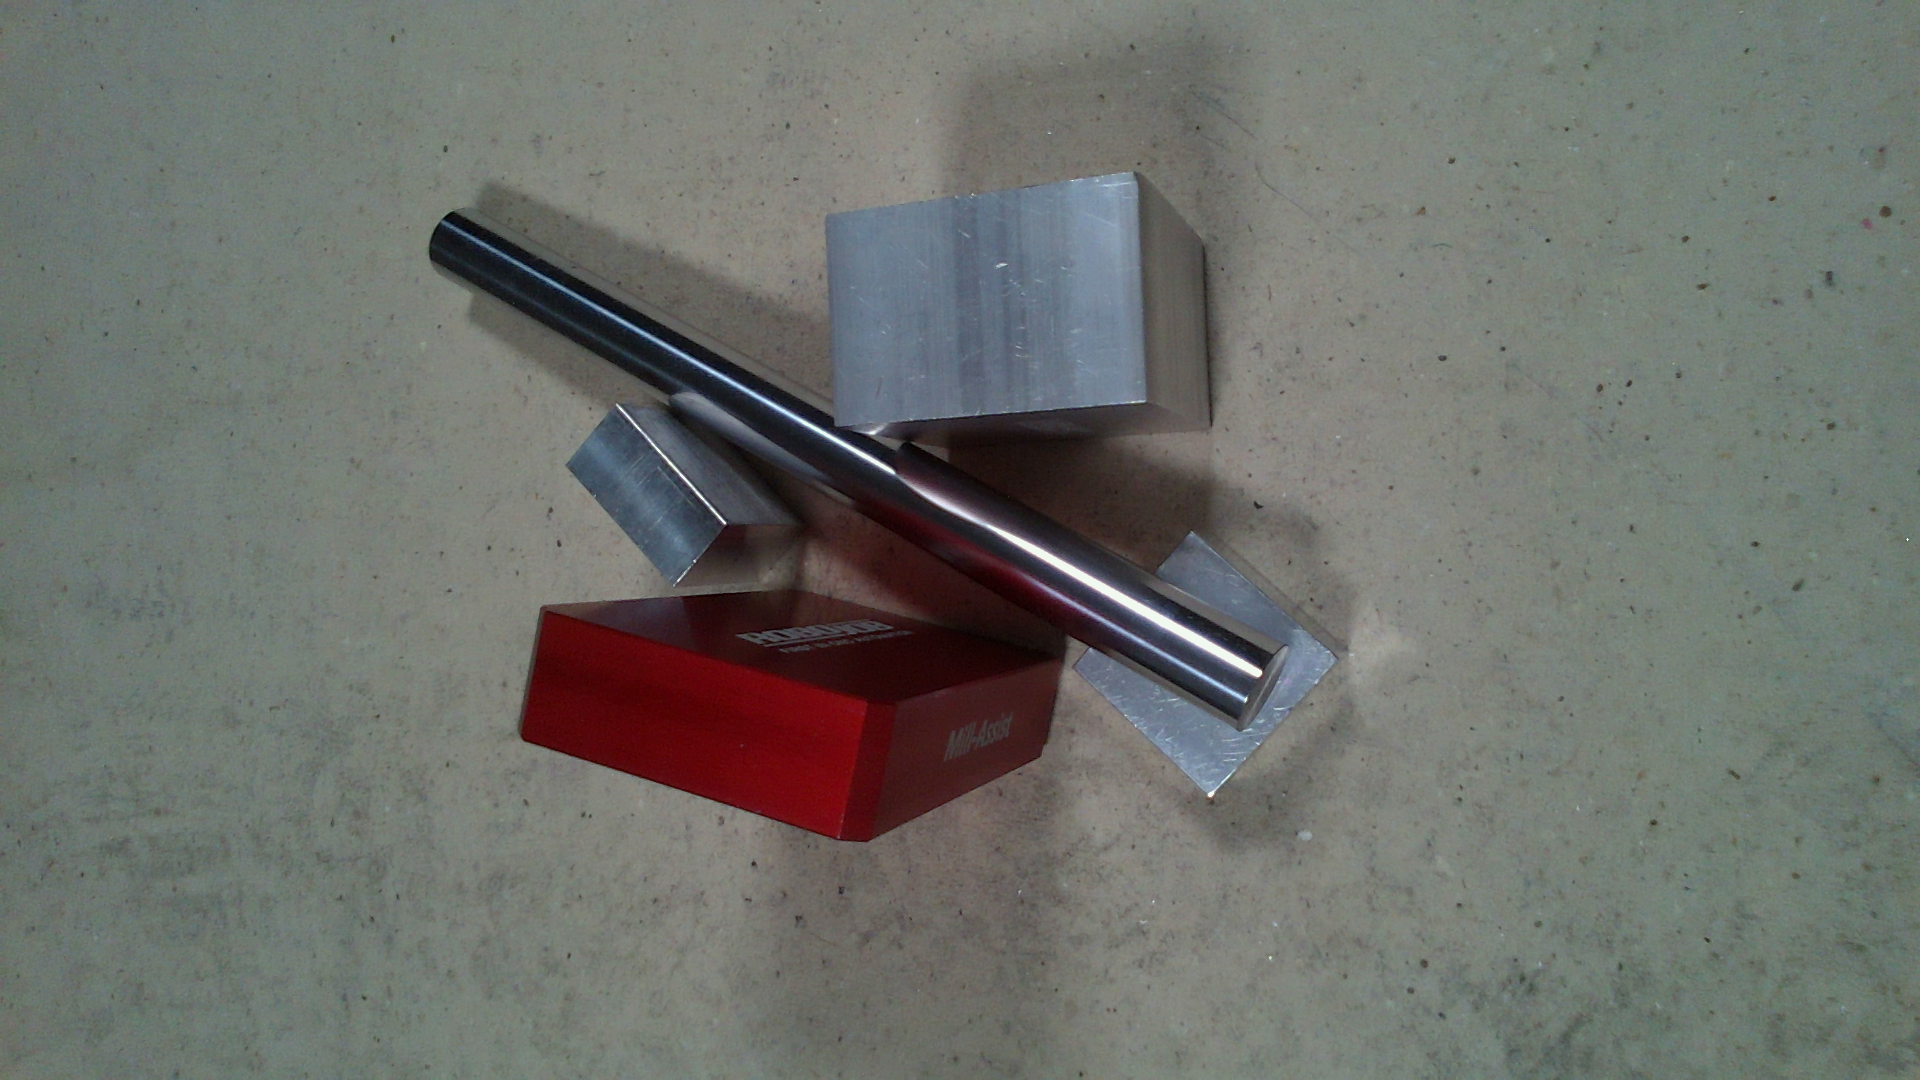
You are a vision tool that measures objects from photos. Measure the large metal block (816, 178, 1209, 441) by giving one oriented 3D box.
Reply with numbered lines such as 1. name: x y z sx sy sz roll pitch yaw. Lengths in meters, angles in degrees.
1. large metal block: 0.017 -0.055 0.359 0.080 0.080 0.050 -2 89 20

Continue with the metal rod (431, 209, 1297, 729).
1. metal rod: -0.044 -0.031 0.397 0.299 0.025 0.025 29 100 23

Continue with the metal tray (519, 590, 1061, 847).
1. metal tray: -0.035 0.039 0.353 0.090 0.130 0.030 13 95 20

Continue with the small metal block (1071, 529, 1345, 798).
1. small metal block: 0.068 0.032 0.372 0.050 0.025 0.050 43 104 15

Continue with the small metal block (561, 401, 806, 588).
1. small metal block: -0.081 -0.013 0.411 0.050 0.050 0.025 46 105 14
